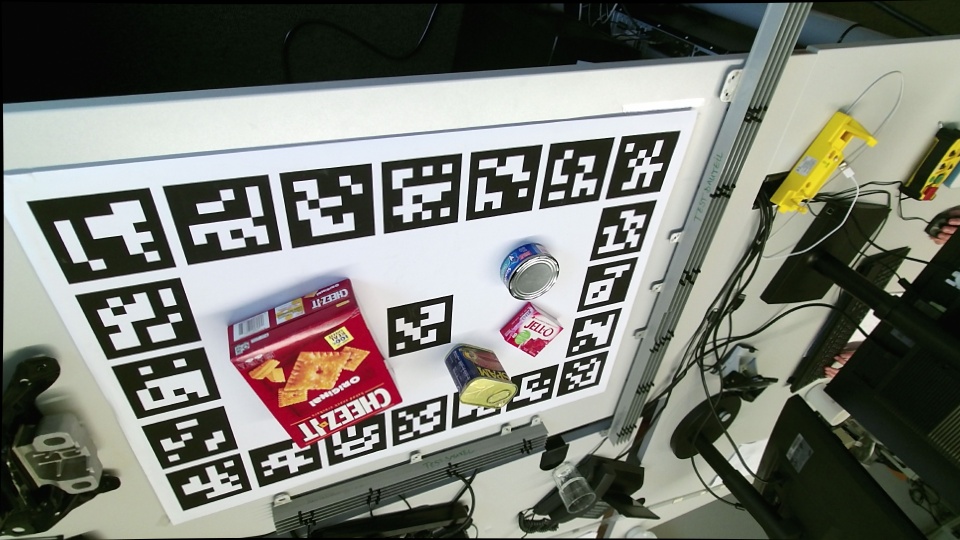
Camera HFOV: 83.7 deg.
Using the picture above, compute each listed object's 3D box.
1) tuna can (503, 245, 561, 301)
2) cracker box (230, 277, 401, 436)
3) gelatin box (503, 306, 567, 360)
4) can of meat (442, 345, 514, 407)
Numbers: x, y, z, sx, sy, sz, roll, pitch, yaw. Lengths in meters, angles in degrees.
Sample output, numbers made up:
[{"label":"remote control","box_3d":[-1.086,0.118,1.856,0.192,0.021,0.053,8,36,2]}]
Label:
[{"label":"tuna can","box_3d":[0.079,0.005,0.829,0.086,0.033,0.086,-14,128,-19]},{"label":"cracker box","box_3d":[-0.221,0.130,0.756,0.165,0.071,0.214,-22,134,-9]},{"label":"gelatin box","box_3d":[0.096,0.111,0.929,0.073,0.030,0.090,-44,130,14]},{"label":"can of meat","box_3d":[-0.005,0.177,0.903,0.102,0.083,0.058,19,115,-39]}]
